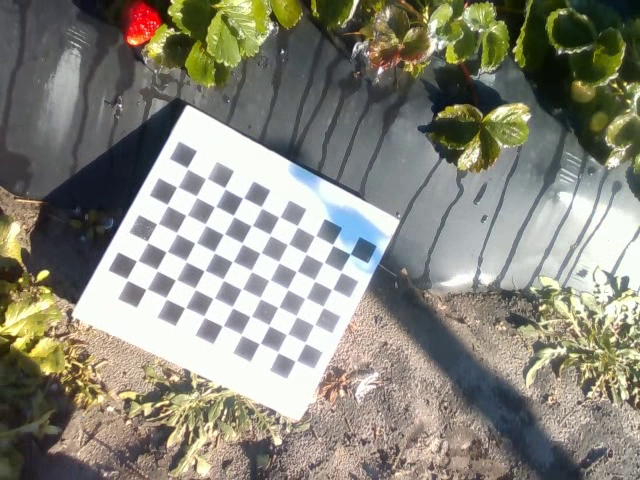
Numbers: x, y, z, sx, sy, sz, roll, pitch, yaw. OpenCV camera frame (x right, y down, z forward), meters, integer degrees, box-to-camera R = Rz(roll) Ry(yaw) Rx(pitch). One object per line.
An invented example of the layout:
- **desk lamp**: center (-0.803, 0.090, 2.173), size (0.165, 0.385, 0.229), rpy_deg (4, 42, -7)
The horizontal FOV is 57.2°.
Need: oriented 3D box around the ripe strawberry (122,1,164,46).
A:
- **ripe strawberry**: center (-0.163, -0.191, 0.519), size (0.041, 0.053, 0.047), rpy_deg (21, -42, -9)
